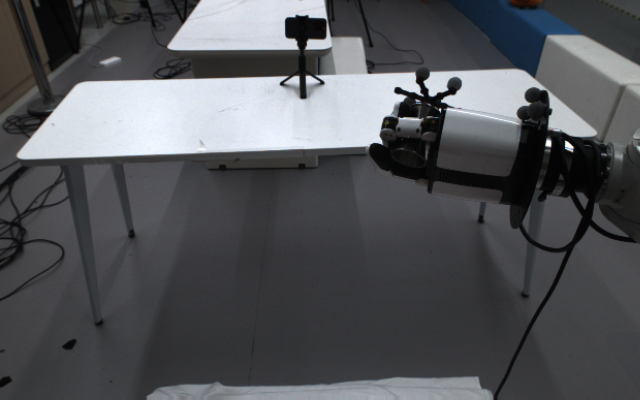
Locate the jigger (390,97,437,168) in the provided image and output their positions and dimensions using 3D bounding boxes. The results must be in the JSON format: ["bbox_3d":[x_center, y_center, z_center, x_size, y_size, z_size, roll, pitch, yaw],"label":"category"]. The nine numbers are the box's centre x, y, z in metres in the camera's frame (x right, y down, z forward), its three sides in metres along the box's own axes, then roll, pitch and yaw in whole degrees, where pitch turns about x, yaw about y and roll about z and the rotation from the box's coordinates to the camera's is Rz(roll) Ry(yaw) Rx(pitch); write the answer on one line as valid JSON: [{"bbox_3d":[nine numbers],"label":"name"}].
[{"bbox_3d":[0.118,-0.082,0.588,0.043,0.043,0.071,16,70,19],"label":"jigger"}]
